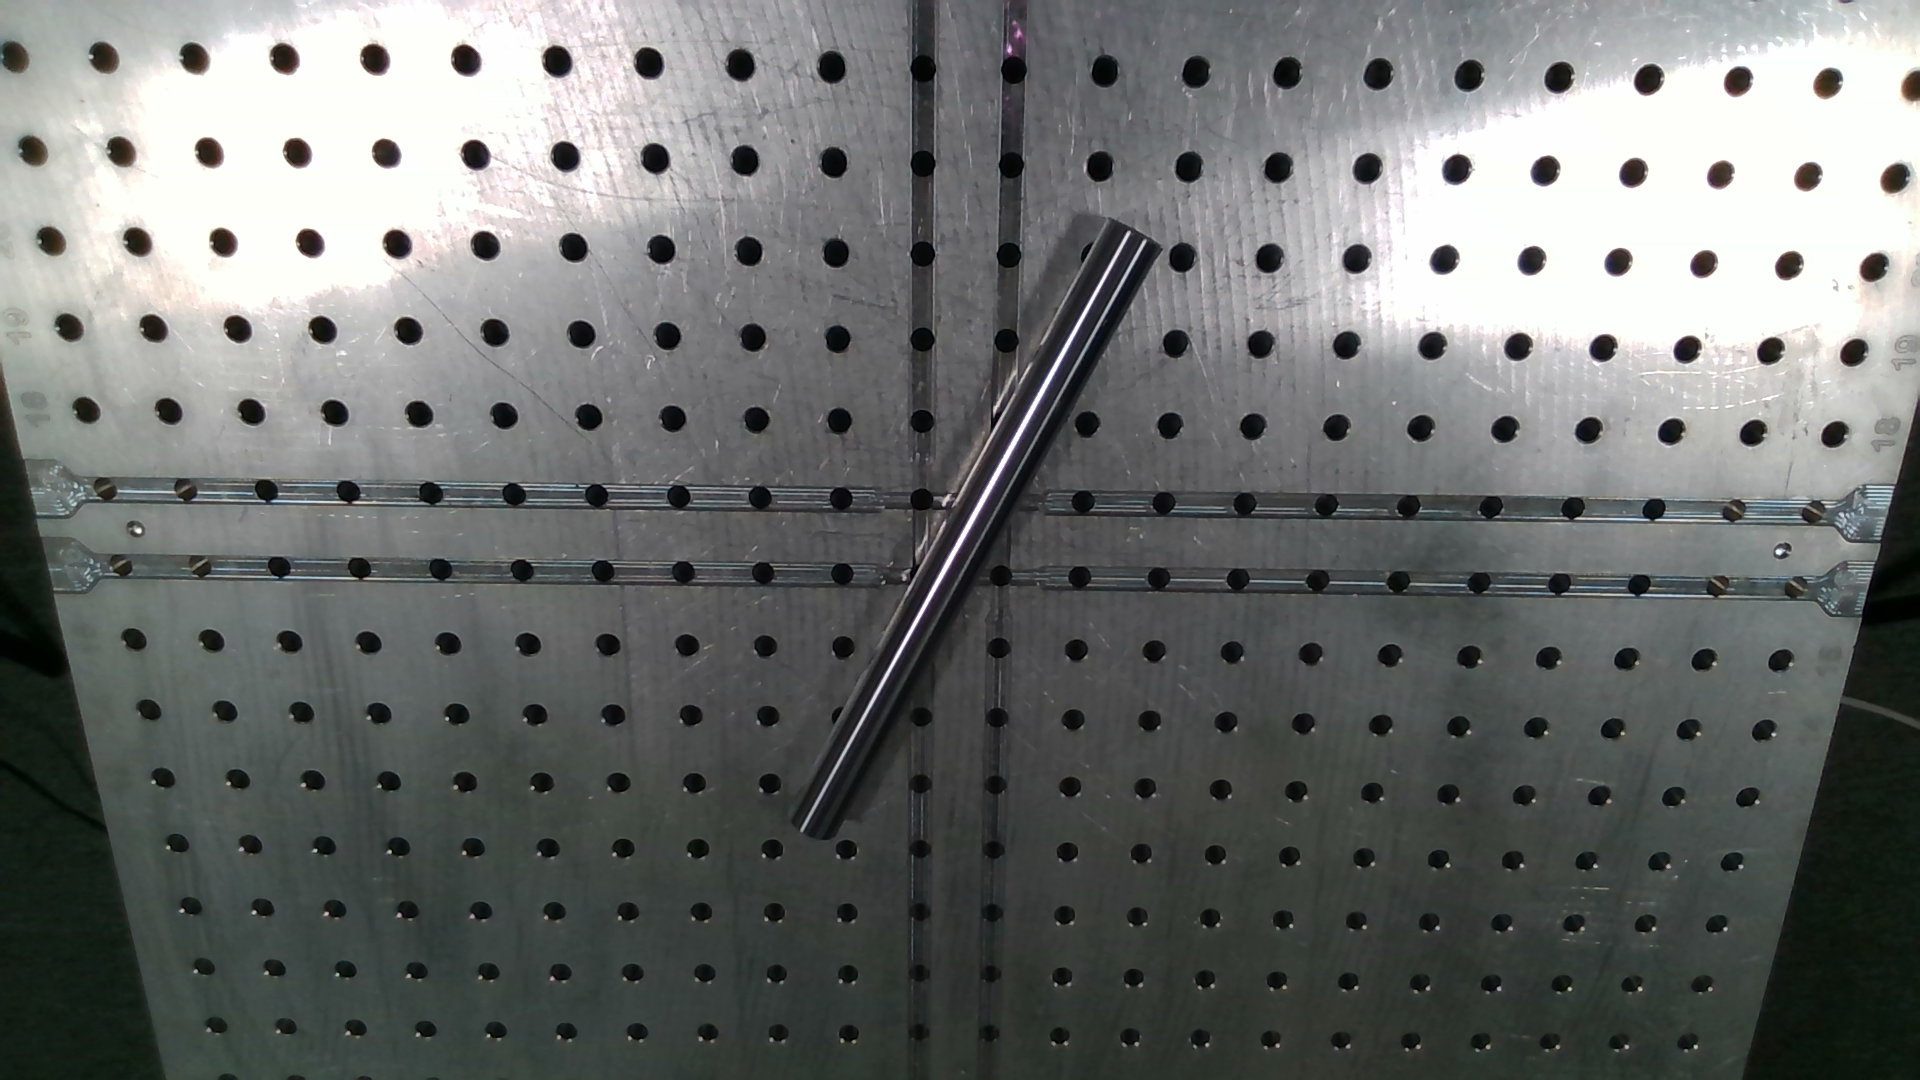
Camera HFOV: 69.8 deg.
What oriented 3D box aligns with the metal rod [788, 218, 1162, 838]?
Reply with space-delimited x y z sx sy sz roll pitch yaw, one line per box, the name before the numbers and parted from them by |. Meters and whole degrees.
metal rod | 0.000 0.004 0.589 0.025 0.025 0.300 26 108 -9
